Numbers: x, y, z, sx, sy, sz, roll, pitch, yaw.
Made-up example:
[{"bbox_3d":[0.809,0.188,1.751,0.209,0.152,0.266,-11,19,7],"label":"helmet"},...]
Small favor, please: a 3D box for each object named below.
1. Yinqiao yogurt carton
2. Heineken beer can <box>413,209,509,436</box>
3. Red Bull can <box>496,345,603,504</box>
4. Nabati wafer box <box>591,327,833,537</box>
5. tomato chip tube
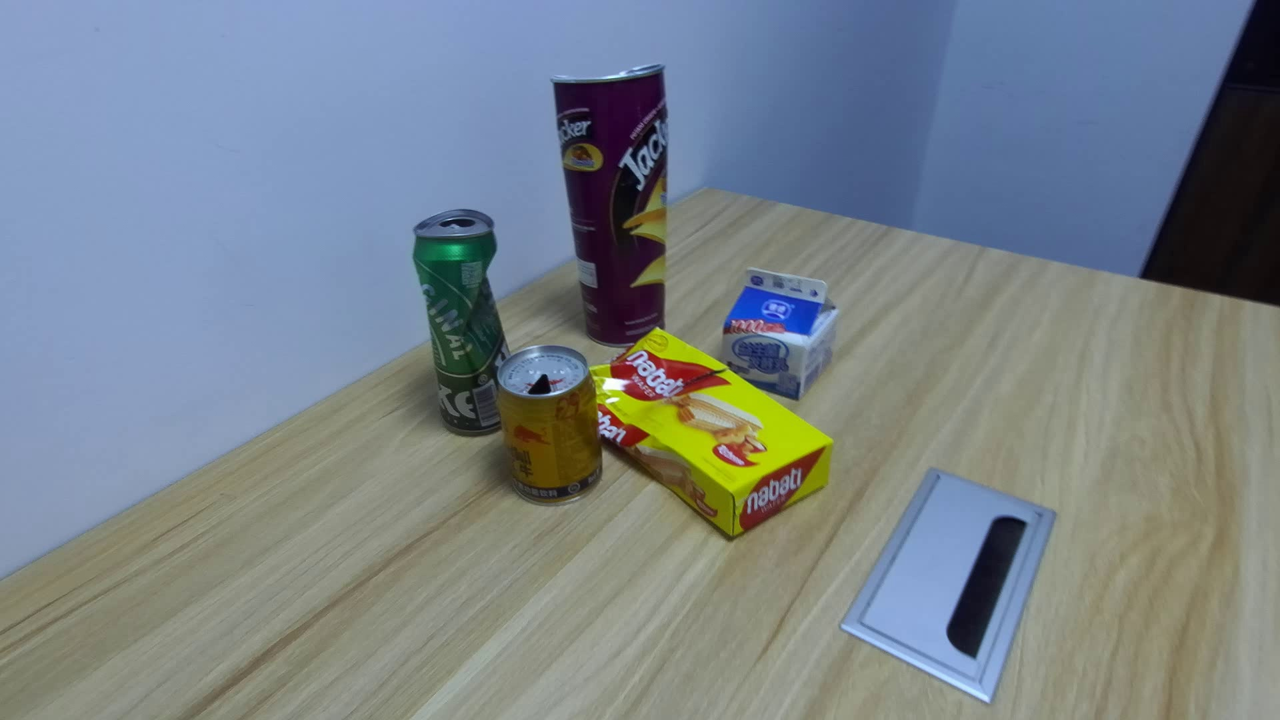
[{"bbox_3d":[0.116,-0.031,0.583,0.075,0.092,0.074,17,38,29],"label":"Yinqiao yogurt carton"},{"bbox_3d":[-0.130,-0.024,0.533,0.066,0.164,0.078,24,37,35],"label":"Heineken beer can"},{"bbox_3d":[-0.061,0.044,0.485,0.067,0.093,0.067,-1,34,1],"label":"Red Bull can"},{"bbox_3d":[0.031,0.044,0.525,0.107,0.042,0.203,-22,37,-28],"label":"Nabati wafer box"},{"bbox_3d":[-0.018,-0.129,0.615,0.077,0.235,0.076,8,34,18],"label":"tomato chip tube"}]
